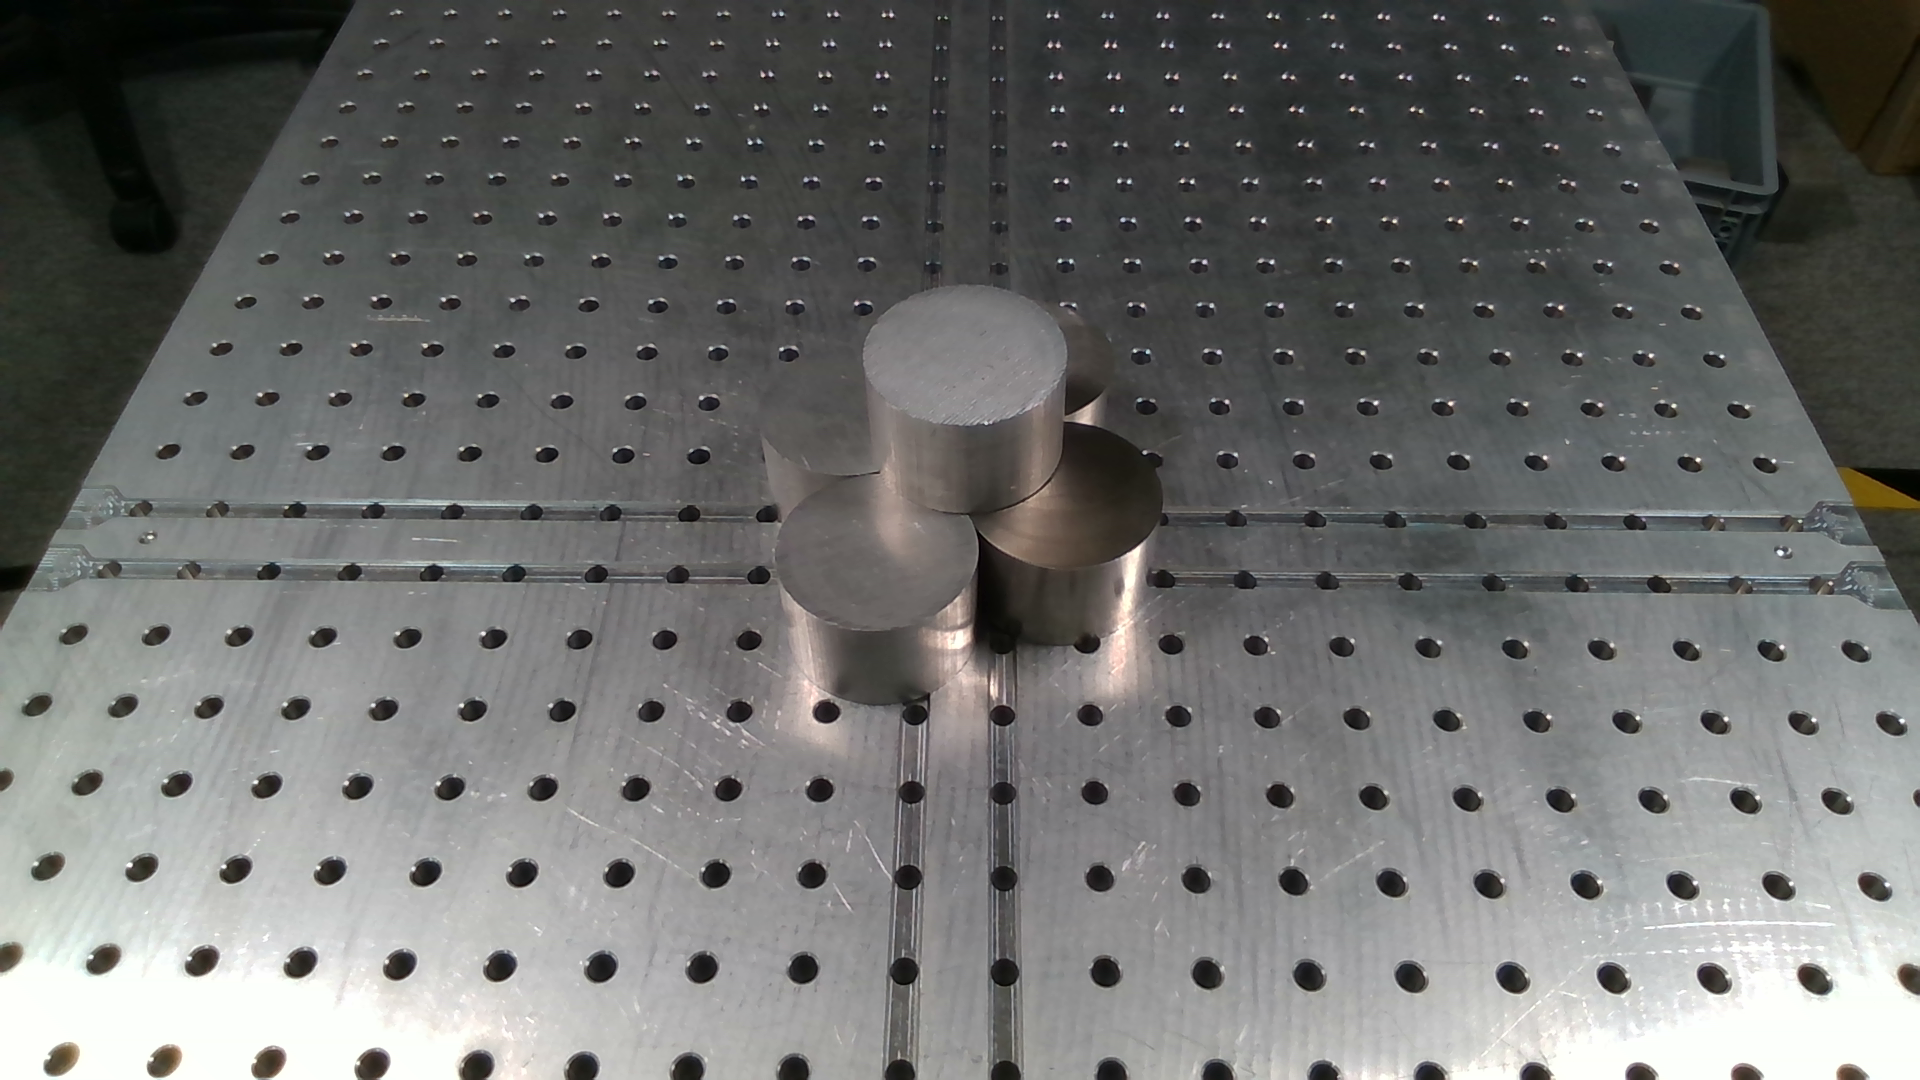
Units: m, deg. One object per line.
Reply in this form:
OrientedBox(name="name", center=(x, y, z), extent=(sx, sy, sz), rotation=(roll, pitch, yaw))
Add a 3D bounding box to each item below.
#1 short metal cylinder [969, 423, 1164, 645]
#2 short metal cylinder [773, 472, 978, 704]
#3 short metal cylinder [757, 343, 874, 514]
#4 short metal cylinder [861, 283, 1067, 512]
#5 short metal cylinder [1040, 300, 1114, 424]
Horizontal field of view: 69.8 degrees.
OrientedBox(name="short metal cylinder", center=(0.042, -0.003, 0.576), extent=(0.080, 0.050, 0.080), rotation=(0, 50, 0))
OrientedBox(name="short metal cylinder", center=(-0.033, 0.019, 0.557), extent=(0.080, 0.050, 0.080), rotation=(0, 50, 0))
OrientedBox(name="short metal cylinder", center=(-0.047, -0.041, 0.607), extent=(0.080, 0.050, 0.080), rotation=(0, 50, 0))
OrientedBox(name="short metal cylinder", center=(0.002, -0.058, 0.555), extent=(0.080, 0.050, 0.080), rotation=(-1, 51, 1))
OrientedBox(name="short metal cylinder", center=(0.028, -0.064, 0.627), extent=(0.080, 0.050, 0.080), rotation=(0, 50, 0))
